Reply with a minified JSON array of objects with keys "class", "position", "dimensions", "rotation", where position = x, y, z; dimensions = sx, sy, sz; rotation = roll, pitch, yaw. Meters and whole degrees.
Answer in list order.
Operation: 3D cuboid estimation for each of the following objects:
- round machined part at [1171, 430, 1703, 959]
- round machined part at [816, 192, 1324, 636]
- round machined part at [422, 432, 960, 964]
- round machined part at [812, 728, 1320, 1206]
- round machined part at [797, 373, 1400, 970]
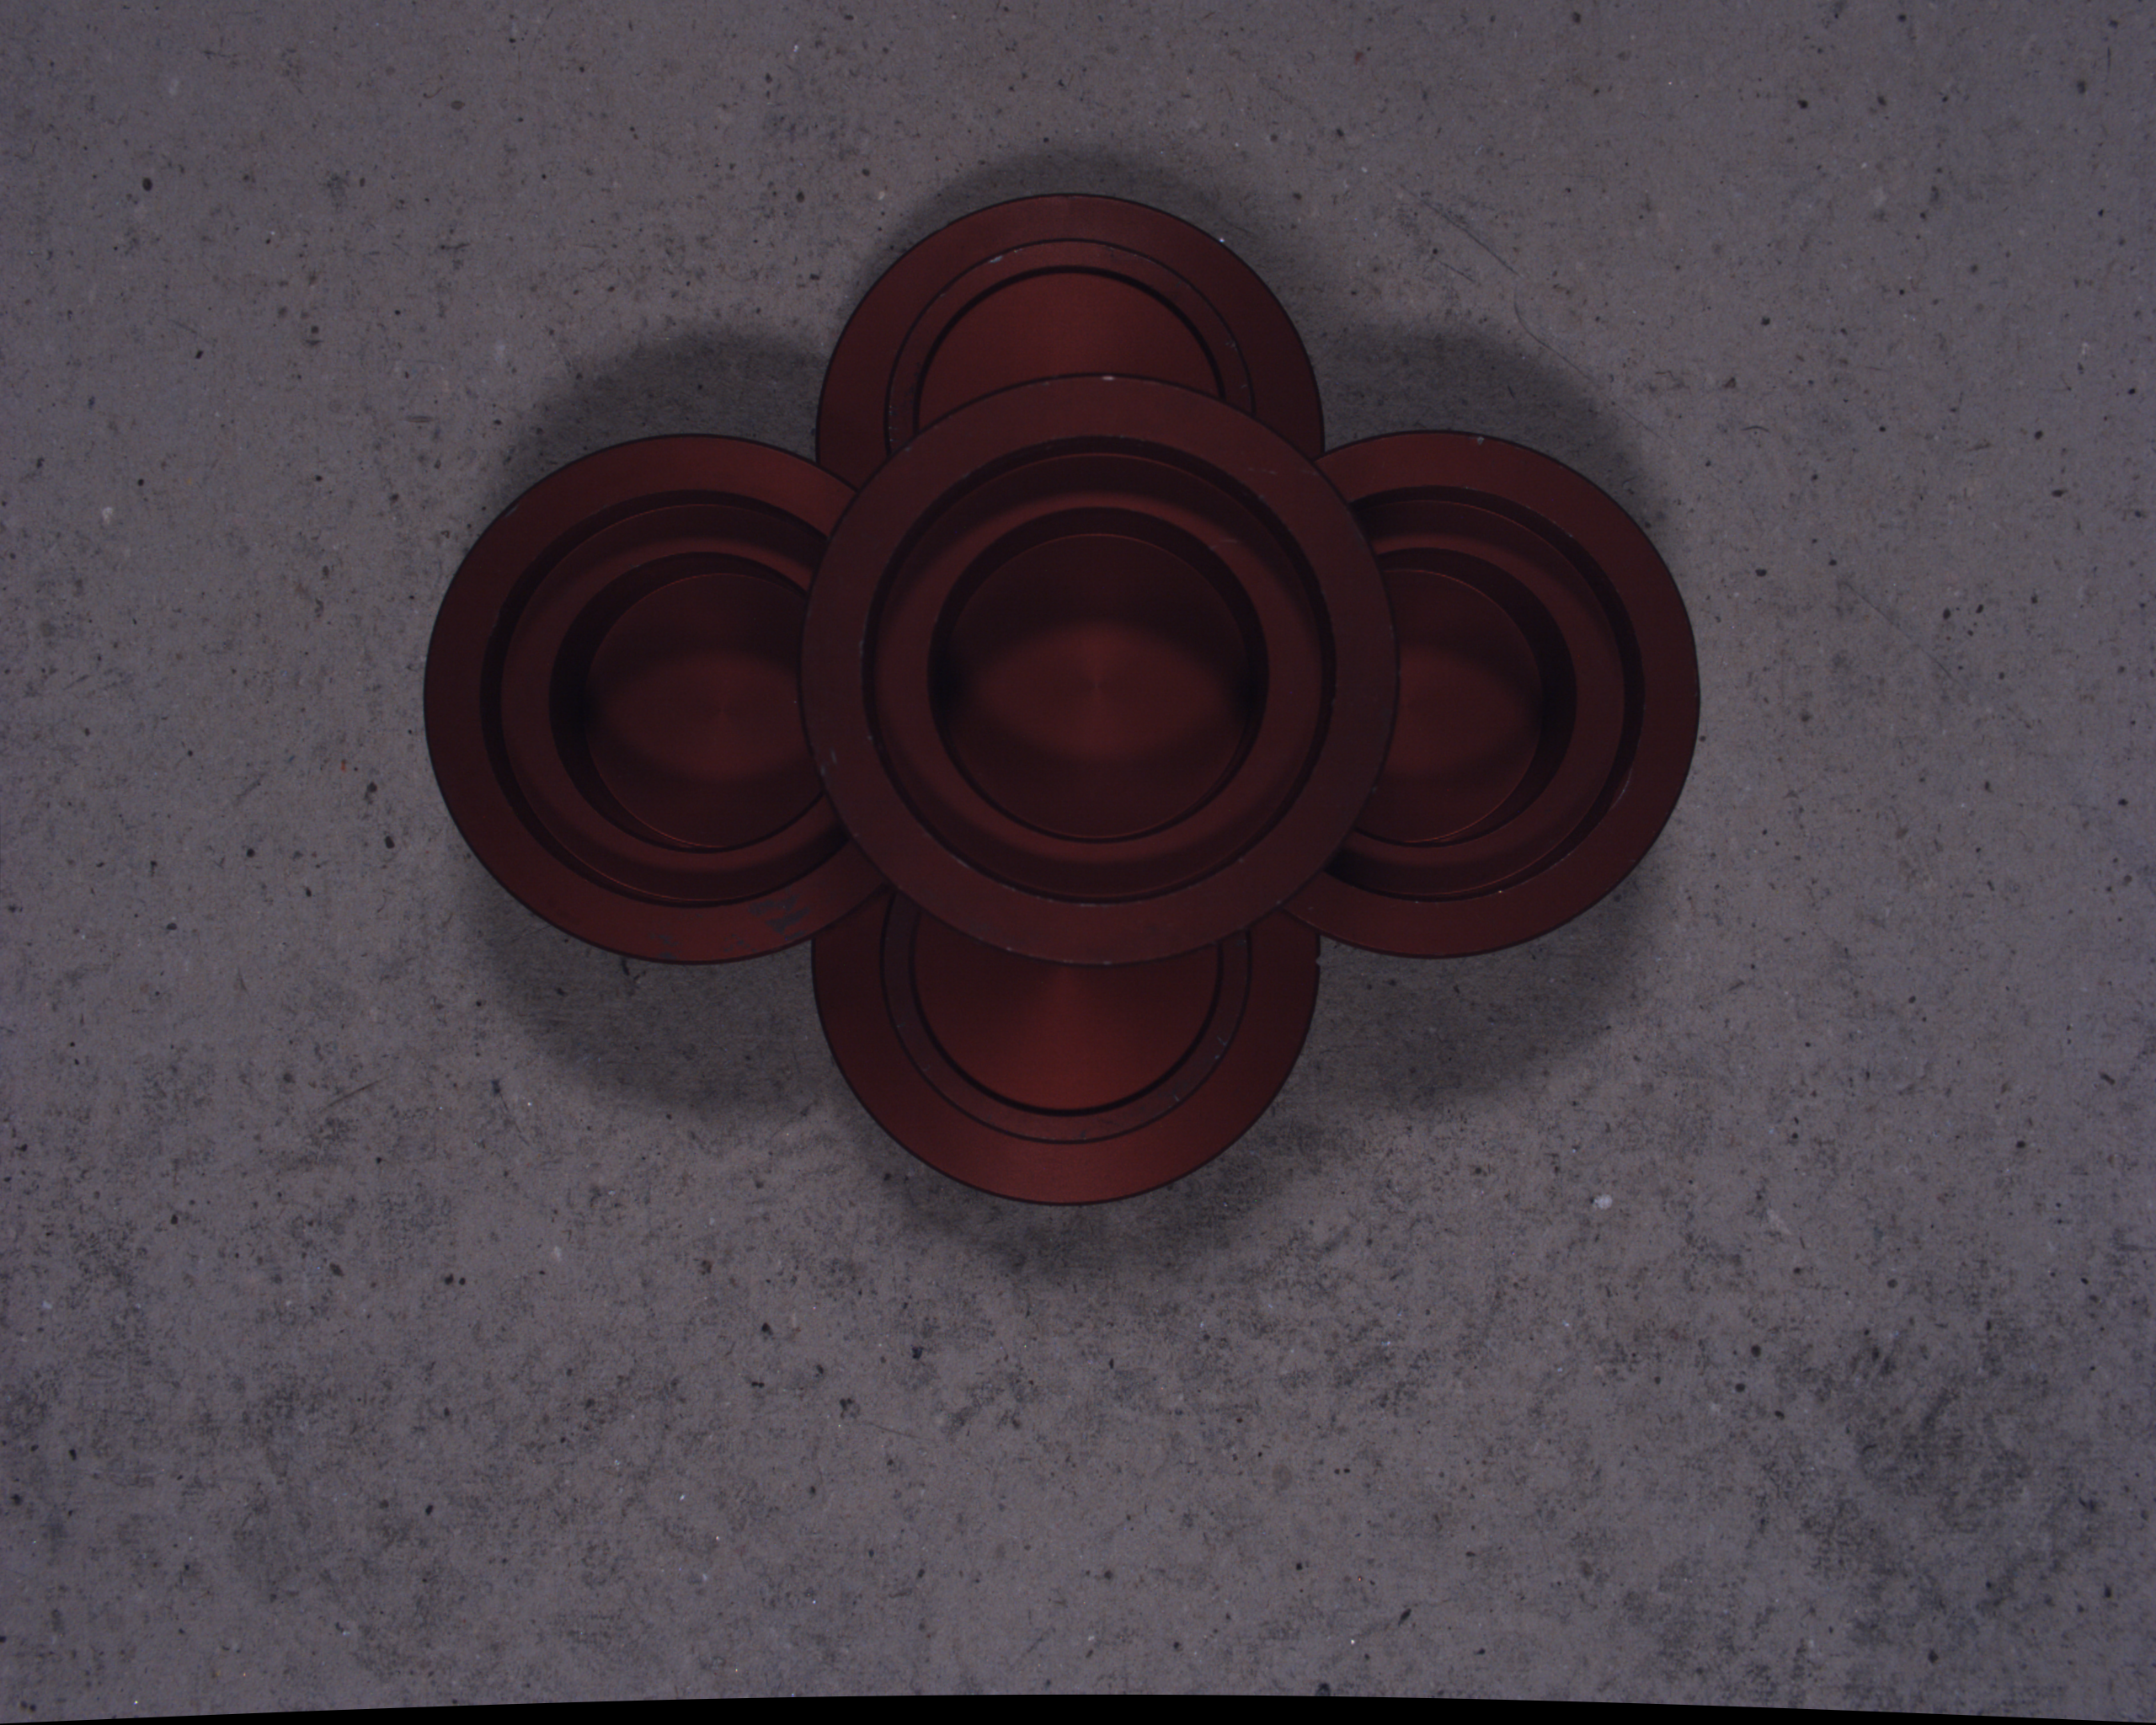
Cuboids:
[{"class":"round machined part","position":[0.066,-0.031,0.403],"dimensions":[0.099,0.042,0.097],"rotation":[0,90,-1]},{"class":"round machined part","position":[-0.001,-0.081,0.402],"dimensions":[0.099,0.042,0.097],"rotation":[0,90,-1]},{"class":"round machined part","position":[-0.071,-0.030,0.402],"dimensions":[0.099,0.042,0.097],"rotation":[0,90,-1]},{"class":"round machined part","position":[-0.002,0.018,0.402],"dimensions":[0.099,0.042,0.097],"rotation":[0,90,-1]},{"class":"round machined part","position":[0.003,-0.031,0.360],"dimensions":[0.099,0.042,0.097],"rotation":[0,90,-1]}]
